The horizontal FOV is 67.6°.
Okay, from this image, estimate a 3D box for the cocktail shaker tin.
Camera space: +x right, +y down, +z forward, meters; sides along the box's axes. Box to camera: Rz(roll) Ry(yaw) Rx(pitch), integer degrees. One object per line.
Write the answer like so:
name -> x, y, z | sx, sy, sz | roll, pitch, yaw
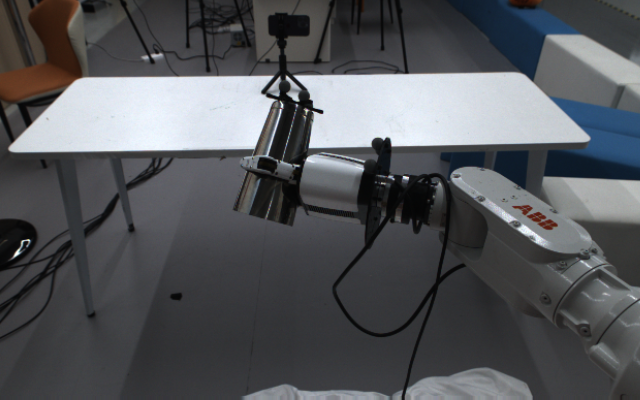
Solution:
cocktail shaker tin -> -0.061, -0.054, 0.716 | 0.093, 0.170, 0.093 | 15, -4, 1
